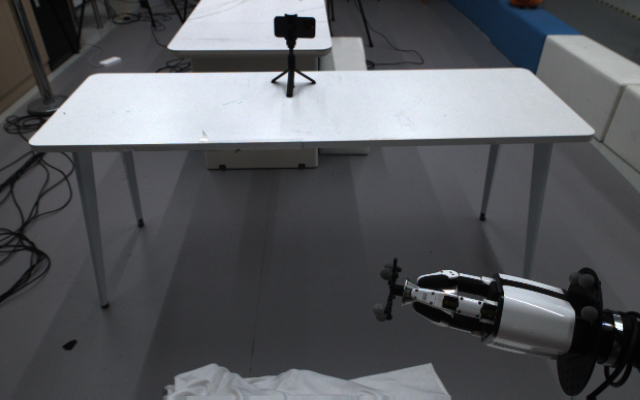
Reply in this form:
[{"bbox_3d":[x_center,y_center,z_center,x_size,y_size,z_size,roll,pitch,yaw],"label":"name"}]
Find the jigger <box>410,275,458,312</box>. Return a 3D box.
[{"bbox_3d":[0.155,0.126,0.652,0.071,0.043,0.043,8,35,15],"label":"jigger"}]
